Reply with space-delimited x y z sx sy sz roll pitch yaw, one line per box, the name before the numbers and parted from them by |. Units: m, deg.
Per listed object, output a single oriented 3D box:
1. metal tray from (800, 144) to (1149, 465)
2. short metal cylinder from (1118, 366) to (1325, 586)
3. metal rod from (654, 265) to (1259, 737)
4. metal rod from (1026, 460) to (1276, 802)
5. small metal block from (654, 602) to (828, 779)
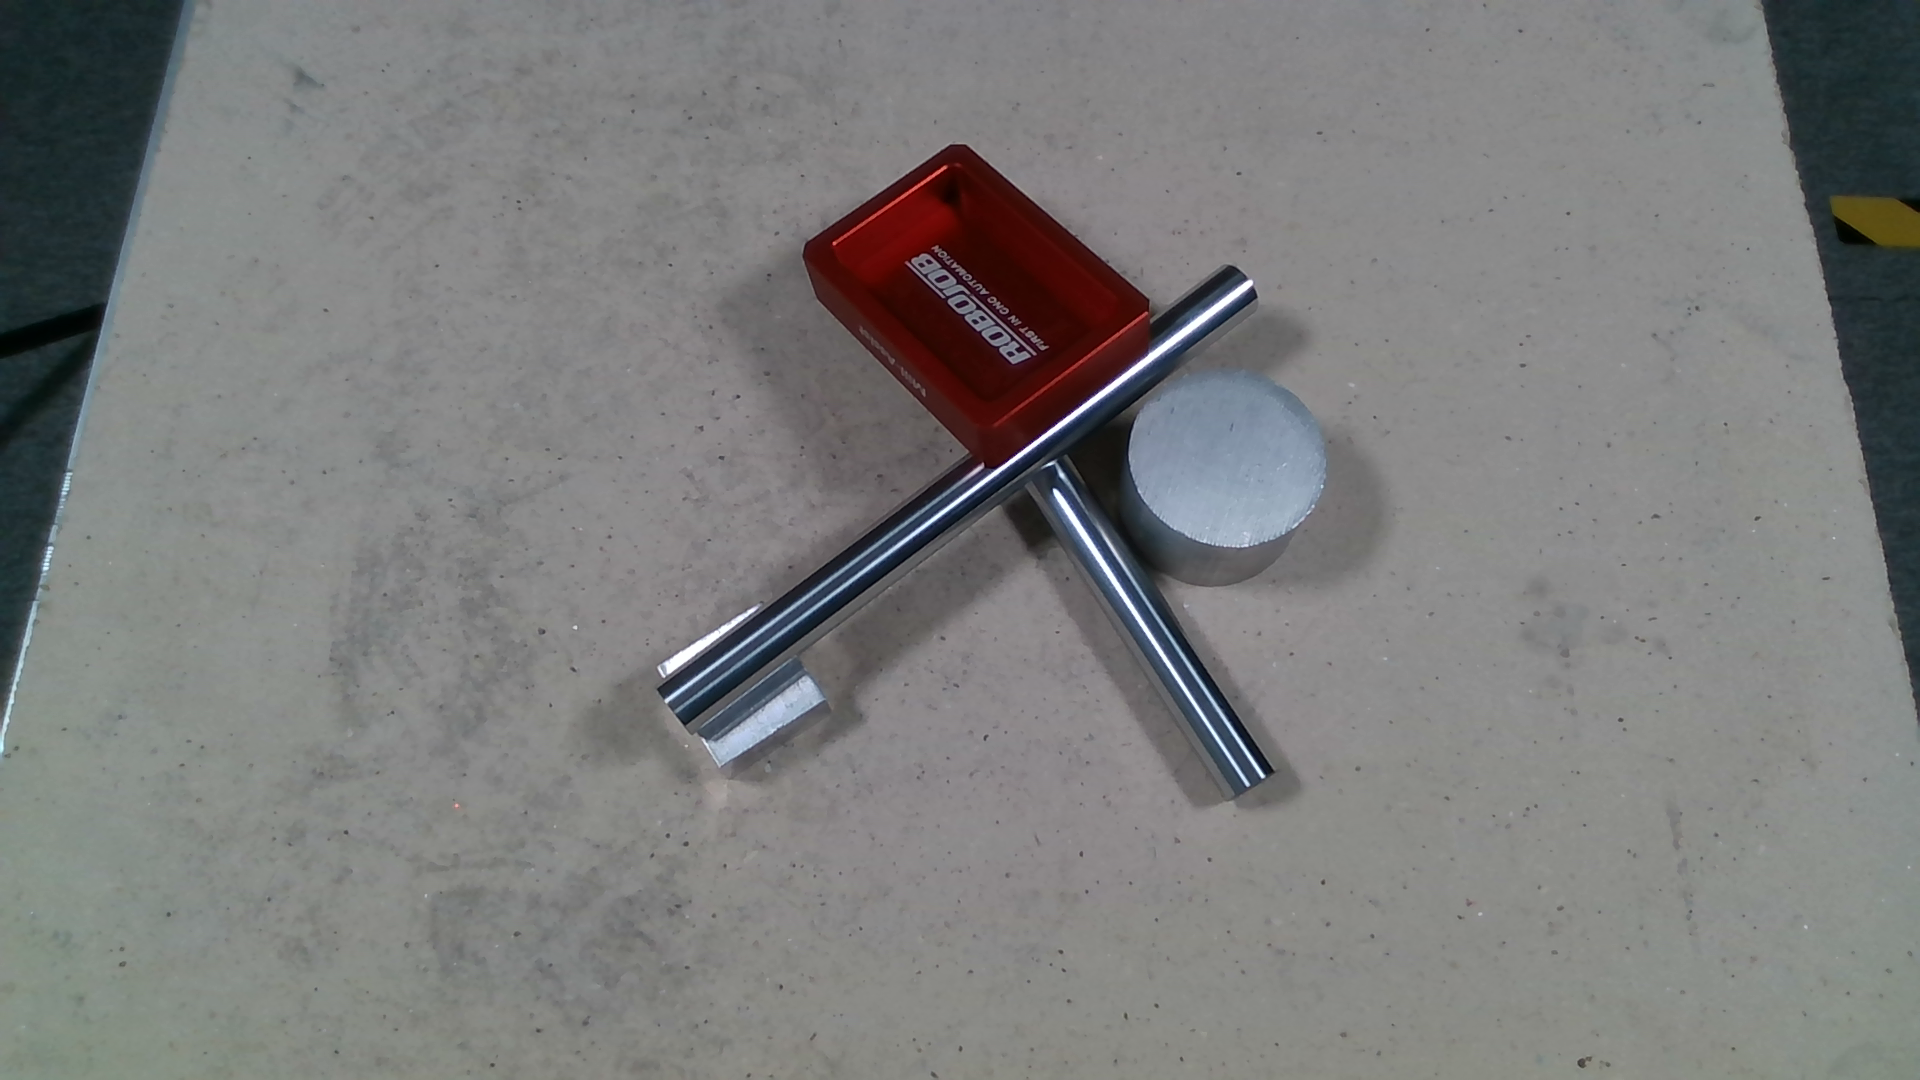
metal tray | 0.006 -0.102 0.581 0.090 0.030 0.130 -37 63 -13
short metal cylinder | 0.109 -0.026 0.584 0.080 0.050 0.080 0 70 0
metal rod | 0.005 -0.021 0.570 0.300 0.025 0.025 -37 74 -12
metal rod | 0.041 -0.023 0.597 0.025 0.025 0.299 -29 73 -10
small metal block | -0.089 0.062 0.566 0.050 0.025 0.050 -32 73 -11
